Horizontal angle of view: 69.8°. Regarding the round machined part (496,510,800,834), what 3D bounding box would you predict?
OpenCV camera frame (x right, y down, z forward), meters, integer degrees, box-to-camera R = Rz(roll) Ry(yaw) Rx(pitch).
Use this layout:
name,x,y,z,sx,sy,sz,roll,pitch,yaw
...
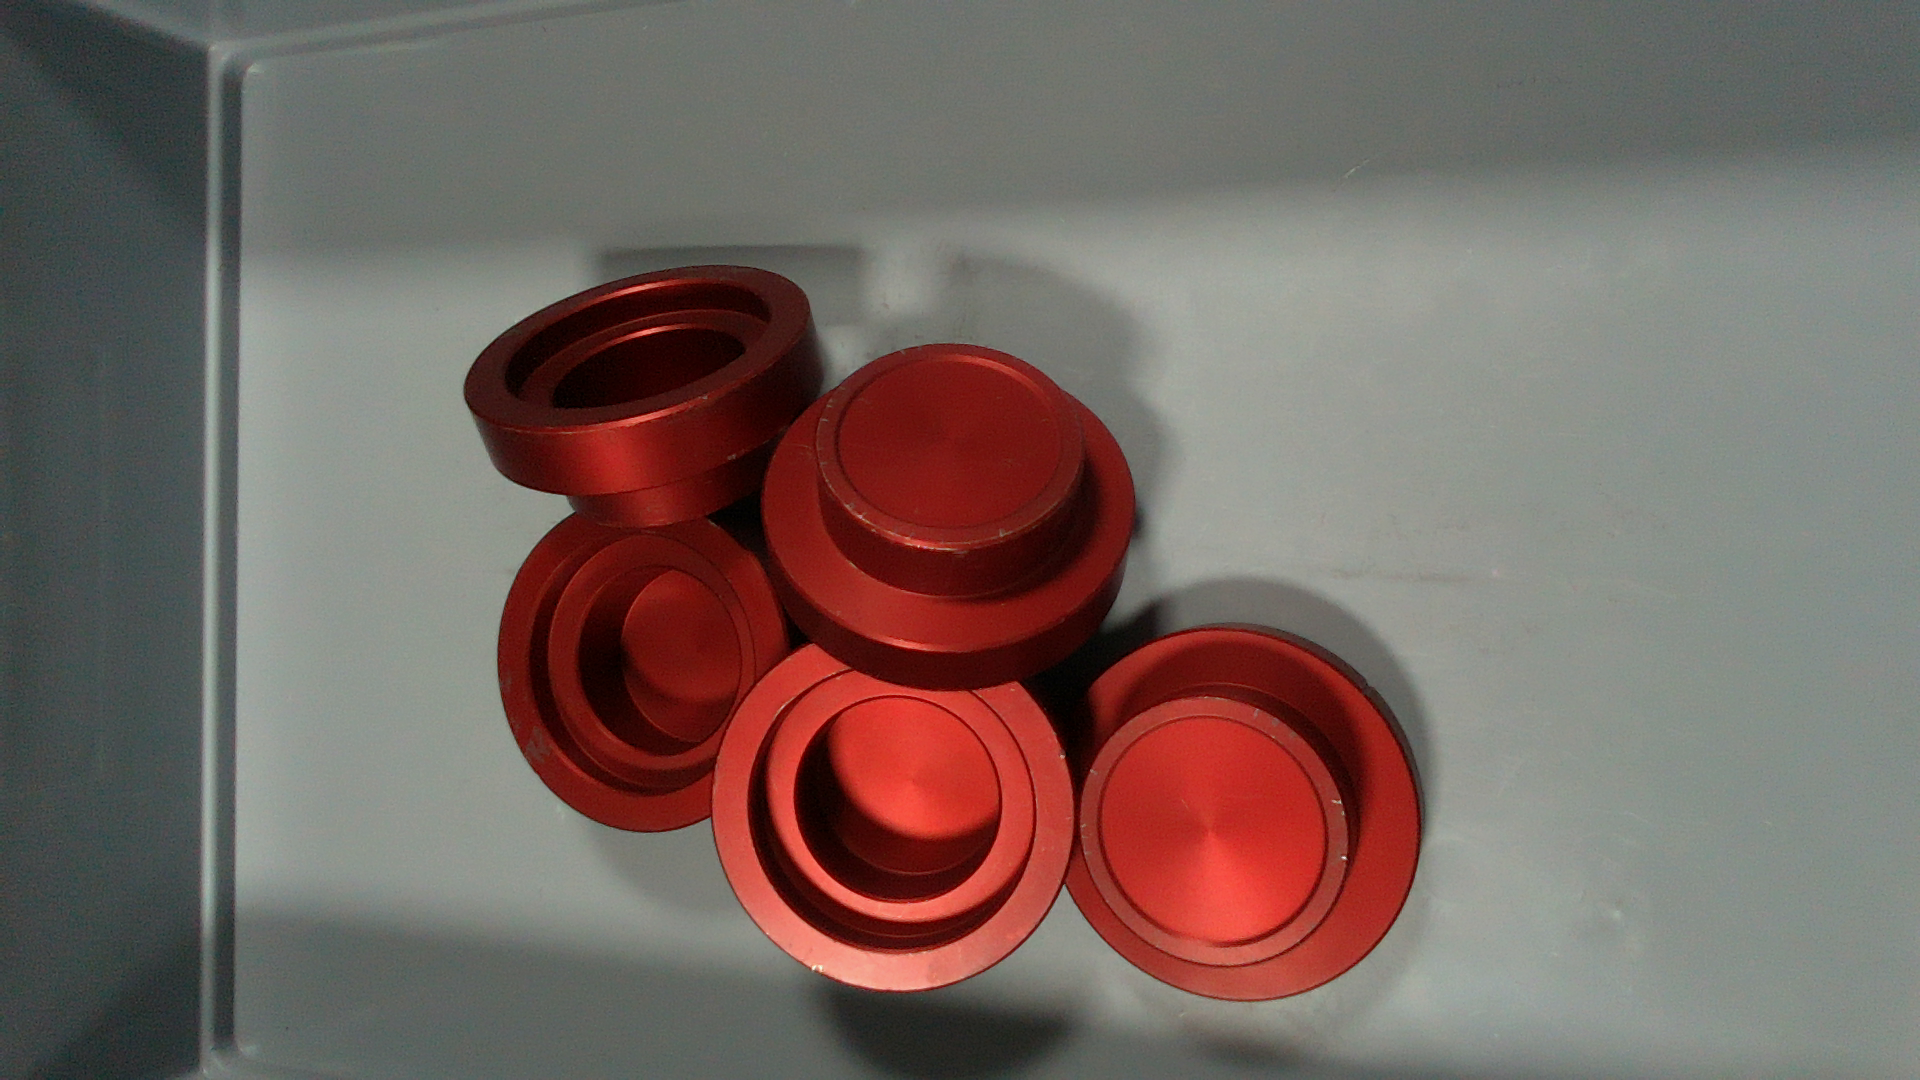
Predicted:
name,x,y,z,sx,sy,sz,roll,pitch,yaw
round machined part,-0.087,0.036,0.416,0.098,0.042,0.098,0,90,20

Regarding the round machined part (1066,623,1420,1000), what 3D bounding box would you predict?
name,x,y,z,sx,sy,sz,roll,pitch,yaw
round machined part,0.069,0.072,0.360,0.098,0.042,0.098,0,90,20

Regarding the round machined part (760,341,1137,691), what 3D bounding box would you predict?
name,x,y,z,sx,sy,sz,roll,pitch,yaw
round machined part,-0.003,-0.013,0.357,0.098,0.042,0.098,1,53,-1

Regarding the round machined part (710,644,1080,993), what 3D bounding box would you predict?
name,x,y,z,sx,sy,sz,roll,pitch,yaw
round machined part,-0.015,0.069,0.379,0.098,0.042,0.098,1,96,7

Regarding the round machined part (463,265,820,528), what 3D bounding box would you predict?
name,x,y,z,sx,sy,sz,roll,pitch,yaw
round machined part,-0.088,-0.040,0.398,0.098,0.098,0.042,3,127,20
